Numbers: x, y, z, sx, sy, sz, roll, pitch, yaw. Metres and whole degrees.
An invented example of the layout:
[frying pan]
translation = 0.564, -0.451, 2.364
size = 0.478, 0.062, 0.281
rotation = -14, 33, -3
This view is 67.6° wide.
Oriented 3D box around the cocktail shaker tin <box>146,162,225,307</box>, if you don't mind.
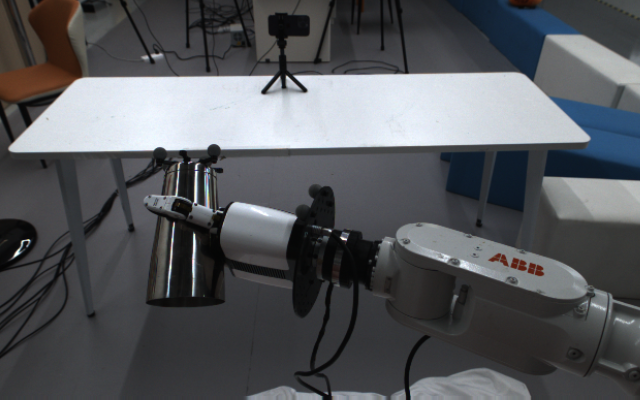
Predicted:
[cocktail shaker tin]
translation = -0.165, 0.044, 0.605
size = 0.093, 0.093, 0.170
rotation = -2, 71, -6
